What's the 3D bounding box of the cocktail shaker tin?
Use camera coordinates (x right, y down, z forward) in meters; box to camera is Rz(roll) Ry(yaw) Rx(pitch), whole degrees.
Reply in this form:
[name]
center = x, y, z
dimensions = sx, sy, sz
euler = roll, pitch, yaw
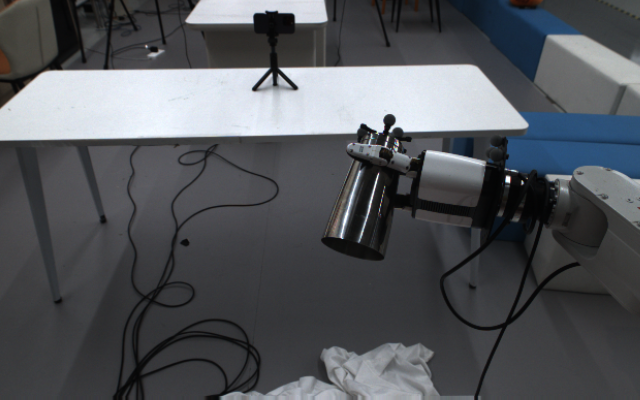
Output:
[cocktail shaker tin]
center = 0.070, -0.011, 0.701
dimensions = 0.093, 0.093, 0.170
euler = 13, 71, 16
